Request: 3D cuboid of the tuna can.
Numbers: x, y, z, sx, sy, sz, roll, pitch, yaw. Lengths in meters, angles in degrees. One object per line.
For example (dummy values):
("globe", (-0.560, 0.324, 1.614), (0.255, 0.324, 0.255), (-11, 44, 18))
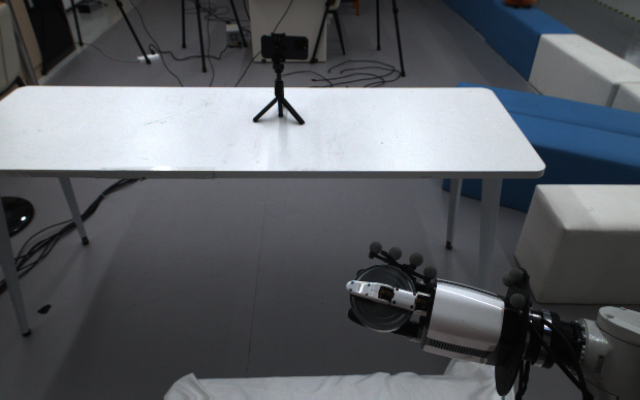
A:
("tuna can", (0.086, 0.127, 0.637), (0.085, 0.034, 0.085), (-4, 66, 10))
